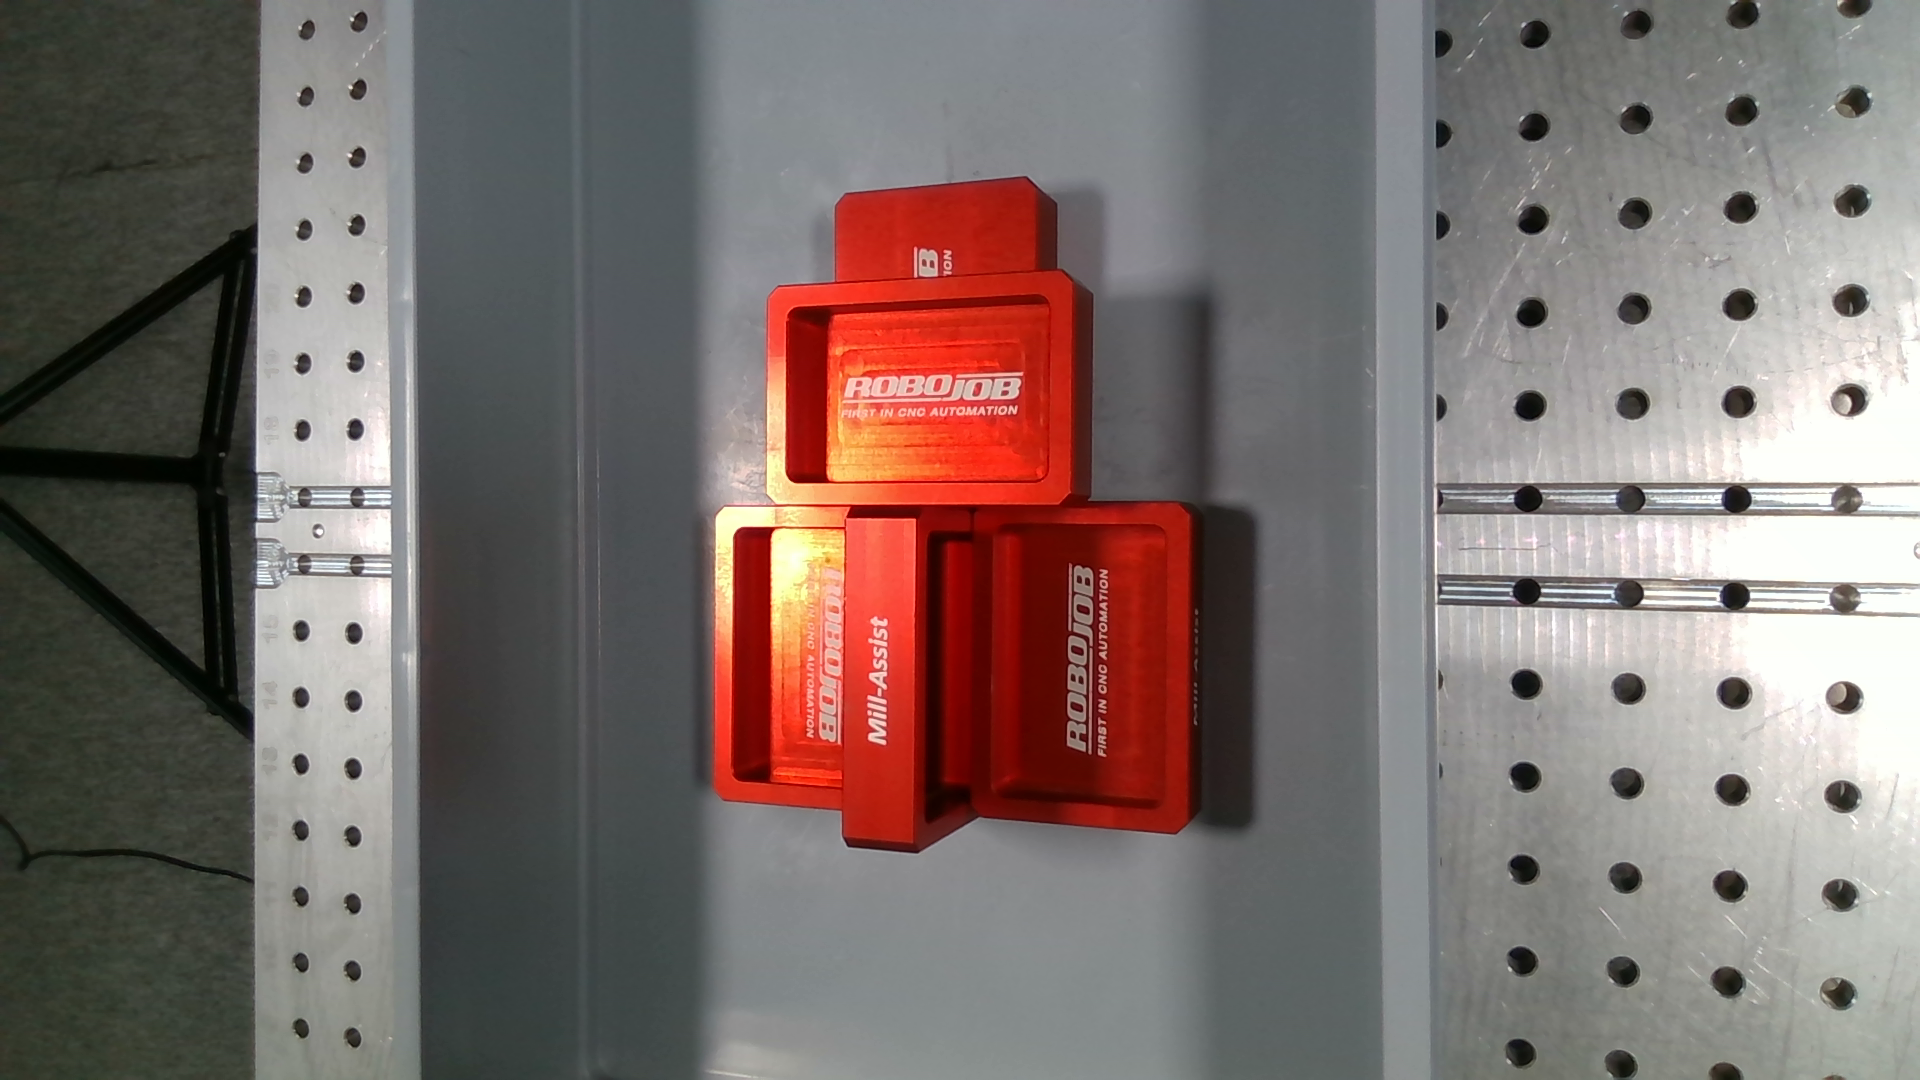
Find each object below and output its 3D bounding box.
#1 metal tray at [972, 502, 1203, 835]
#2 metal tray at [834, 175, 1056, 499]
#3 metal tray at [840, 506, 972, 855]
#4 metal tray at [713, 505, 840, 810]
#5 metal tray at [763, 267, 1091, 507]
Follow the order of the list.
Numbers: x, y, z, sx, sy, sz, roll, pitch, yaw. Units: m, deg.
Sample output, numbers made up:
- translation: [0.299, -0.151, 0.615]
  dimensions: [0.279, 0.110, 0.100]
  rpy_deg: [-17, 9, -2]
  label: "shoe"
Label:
- translation: [0.052, 0.050, 0.563]
  dimensions: [0.090, 0.030, 0.130]
  rpy_deg: [1, 91, 20]
  label: "metal tray"
- translation: [-0.007, -0.082, 0.582]
  dimensions: [0.090, 0.030, 0.130]
  rpy_deg: [0, 91, 20]
  label: "metal tray"
- translation: [-0.015, 0.052, 0.555]
  dimensions: [0.030, 0.090, 0.130]
  rpy_deg: [1, 91, 20]
  label: "metal tray"
- translation: [-0.062, 0.050, 0.605]
  dimensions: [0.090, 0.030, 0.130]
  rpy_deg: [1, 91, 20]
  label: "metal tray"
- translation: [-0.014, -0.059, 0.553]
  dimensions: [0.130, 0.030, 0.090]
  rpy_deg: [1, 91, 20]
  label: "metal tray"
